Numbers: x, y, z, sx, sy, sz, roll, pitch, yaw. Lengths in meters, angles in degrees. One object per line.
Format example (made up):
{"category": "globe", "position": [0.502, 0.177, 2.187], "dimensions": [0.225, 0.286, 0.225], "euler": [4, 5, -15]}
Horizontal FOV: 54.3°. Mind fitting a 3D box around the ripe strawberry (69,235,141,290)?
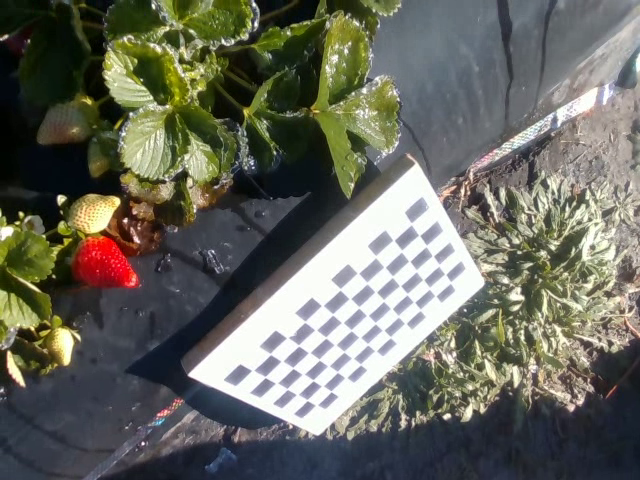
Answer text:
{"category": "ripe strawberry", "position": [-0.148, 0.020, 0.428], "dimensions": [0.053, 0.040, 0.042], "euler": [28, 27, 18]}
